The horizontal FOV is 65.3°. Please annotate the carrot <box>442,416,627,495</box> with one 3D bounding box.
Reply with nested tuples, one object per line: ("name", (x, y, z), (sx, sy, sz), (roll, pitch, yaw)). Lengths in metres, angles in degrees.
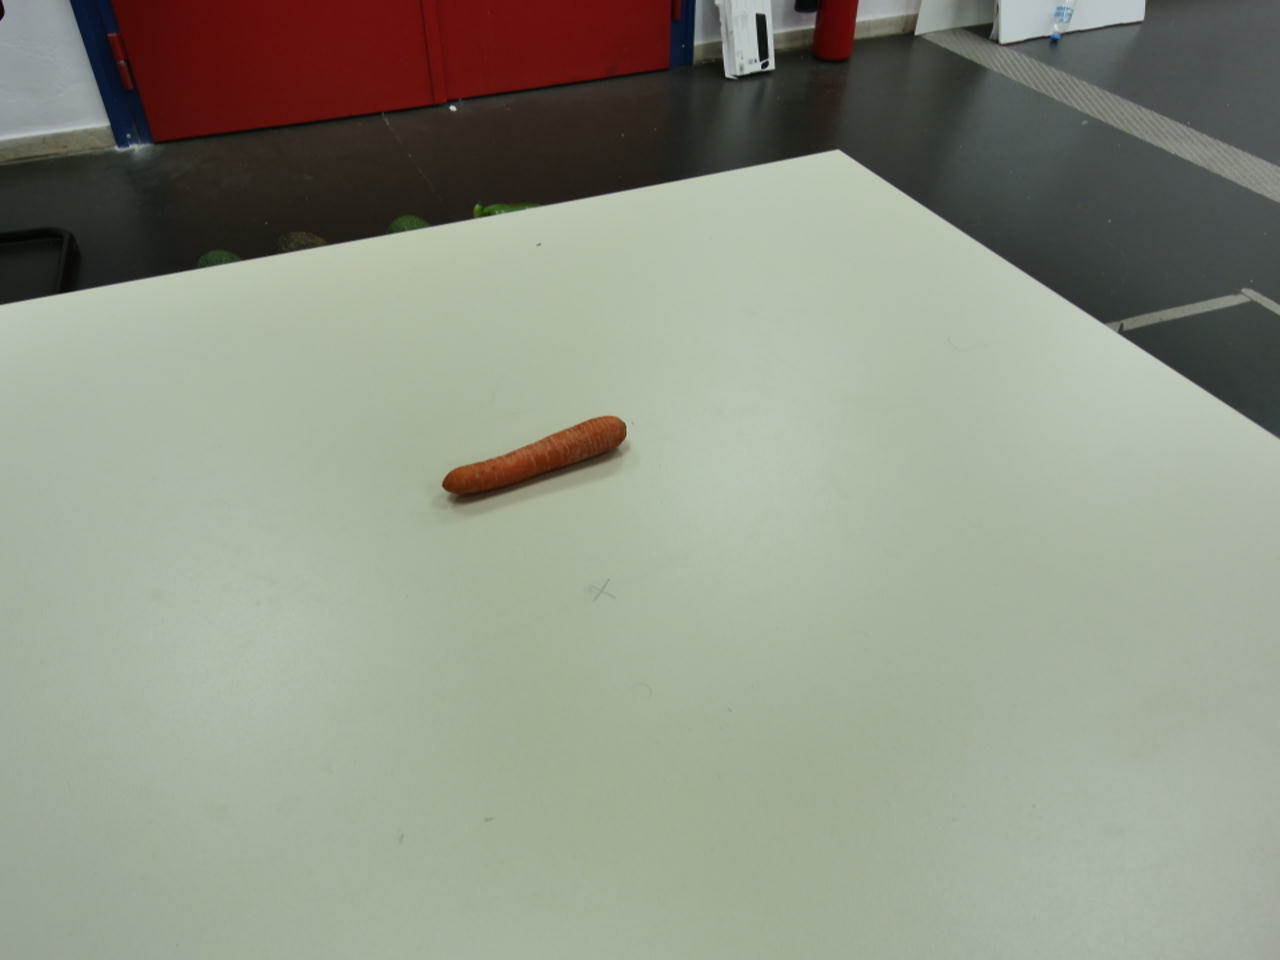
("carrot", (-0.063, -0.015, 0.616), (0.122, 0.023, 0.024), (-18, 42, -21))
